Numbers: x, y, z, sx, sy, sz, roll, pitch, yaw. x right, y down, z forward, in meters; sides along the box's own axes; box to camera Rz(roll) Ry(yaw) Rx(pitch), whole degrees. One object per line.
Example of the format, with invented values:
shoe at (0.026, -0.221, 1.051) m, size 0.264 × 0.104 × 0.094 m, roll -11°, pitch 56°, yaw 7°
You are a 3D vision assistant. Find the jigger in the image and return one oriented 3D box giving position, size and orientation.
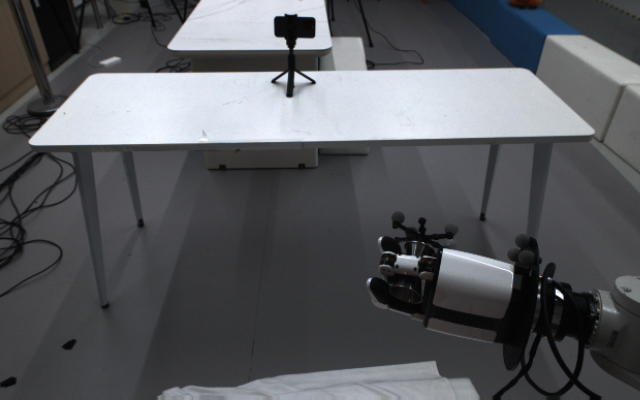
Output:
jigger at (0.121, 0.089, 0.611) m, size 0.043 × 0.043 × 0.071 m, roll 13°, pitch 57°, yaw 15°
